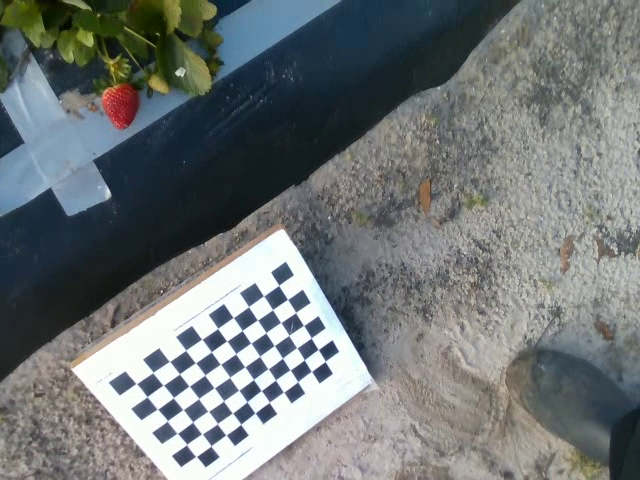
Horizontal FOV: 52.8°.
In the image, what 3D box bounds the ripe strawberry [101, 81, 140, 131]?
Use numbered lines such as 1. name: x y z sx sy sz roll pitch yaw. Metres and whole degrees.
1. ripe strawberry: -0.100 -0.067 0.325 0.023 0.026 0.020 -17 -18 10
